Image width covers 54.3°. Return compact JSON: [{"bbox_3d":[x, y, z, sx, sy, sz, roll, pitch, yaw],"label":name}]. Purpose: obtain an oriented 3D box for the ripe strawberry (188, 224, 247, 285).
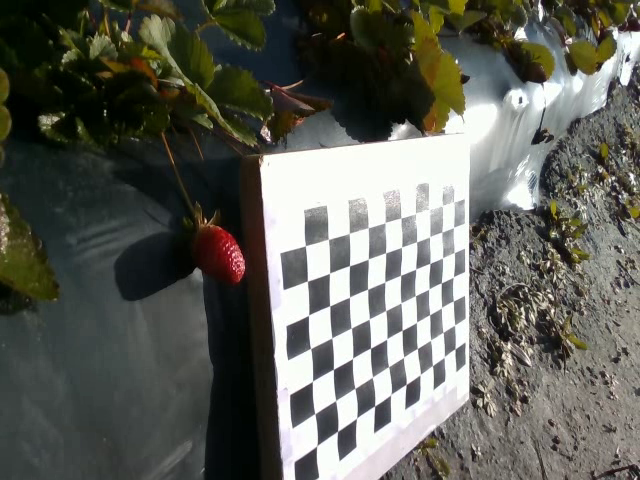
[{"bbox_3d":[-0.050,0.010,0.309,0.038,0.033,0.034,46,36,21],"label":"ripe strawberry"}]
